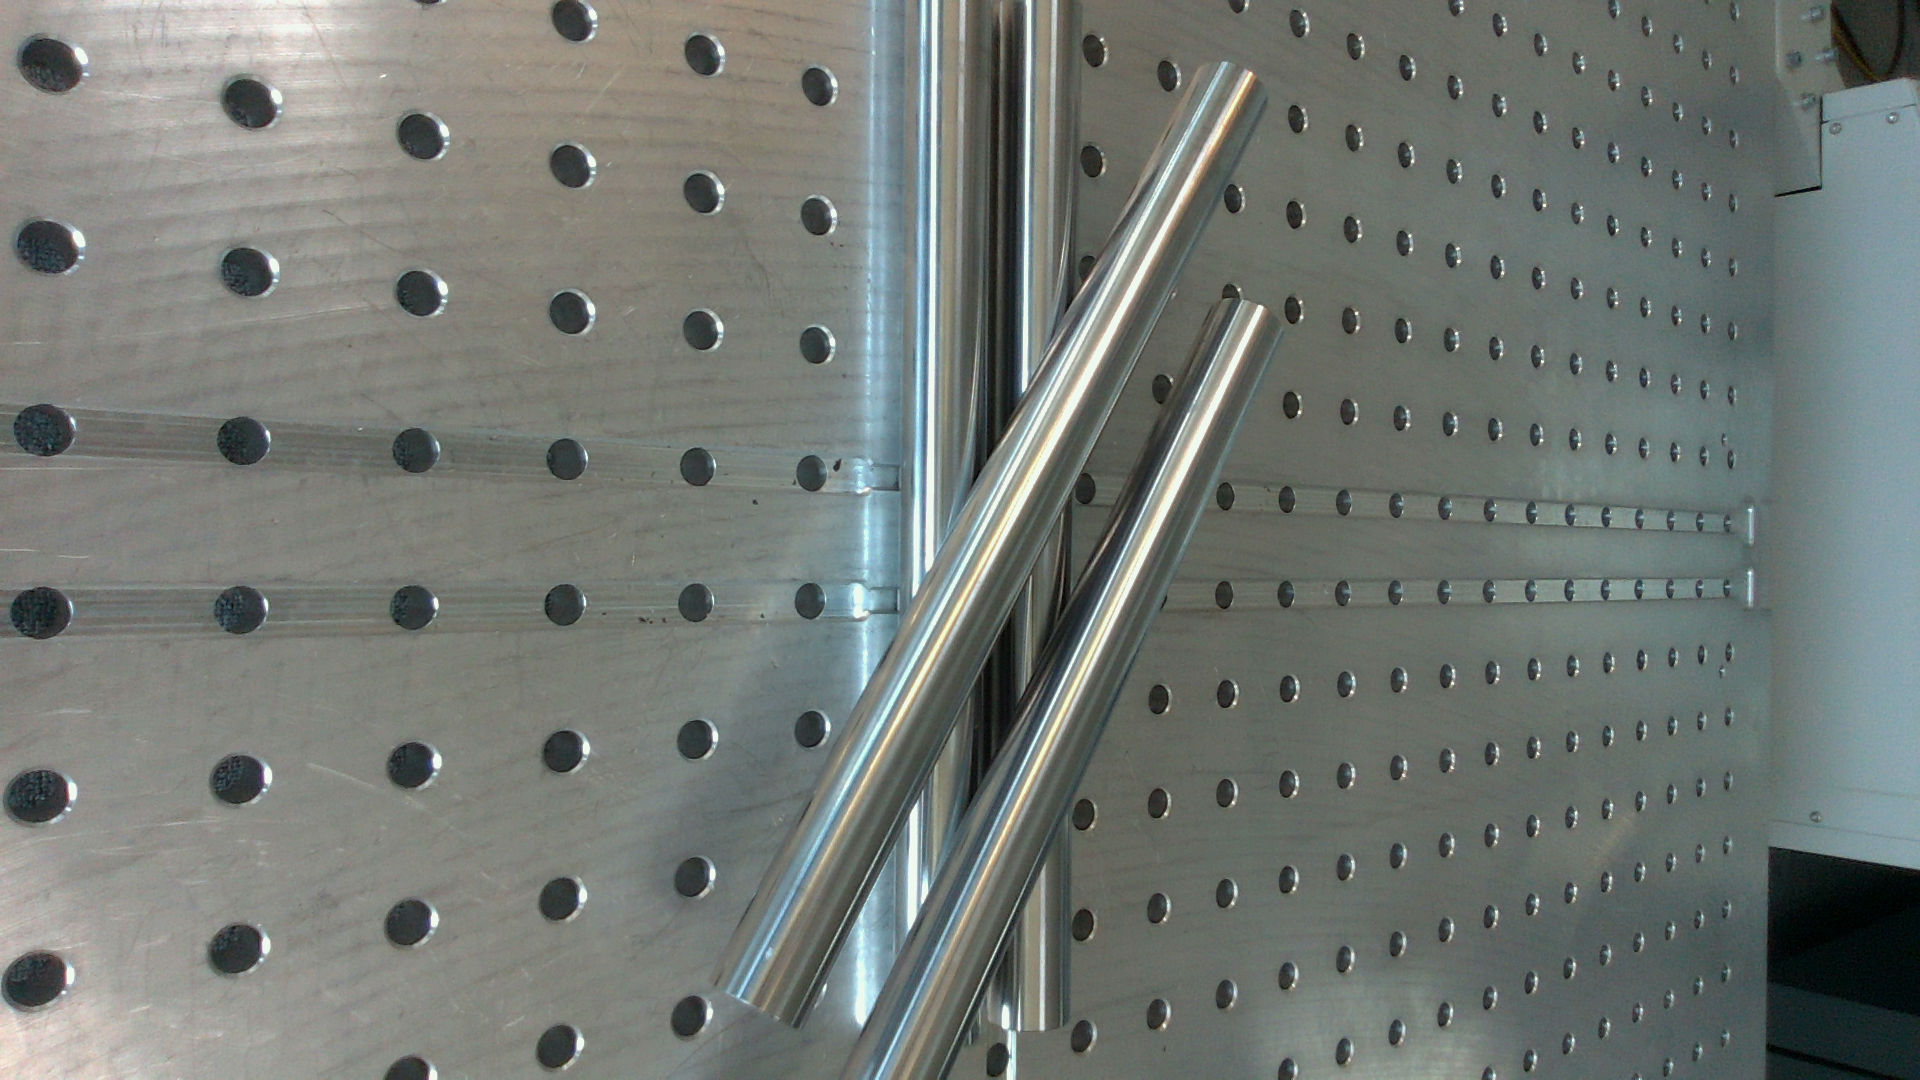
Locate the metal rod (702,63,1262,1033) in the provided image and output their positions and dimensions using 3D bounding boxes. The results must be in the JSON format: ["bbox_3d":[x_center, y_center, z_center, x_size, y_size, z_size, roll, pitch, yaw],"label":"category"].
[{"bbox_3d":[0.017,-0.015,0.374,0.025,0.025,0.300,42,65,-32],"label":"metal rod"}]

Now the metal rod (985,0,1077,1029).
[{"bbox_3d":[0.021,-0.009,0.410,0.025,0.025,0.300,1,89,-40],"label":"metal rod"}]

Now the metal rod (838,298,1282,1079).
[{"bbox_3d":[0.025,0.056,0.379,0.025,0.025,0.300,42,65,-32],"label":"metal rod"}]

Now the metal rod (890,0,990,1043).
[{"bbox_3d":[-0.006,-0.012,0.388,0.025,0.025,0.300,1,89,-40],"label":"metal rod"}]
